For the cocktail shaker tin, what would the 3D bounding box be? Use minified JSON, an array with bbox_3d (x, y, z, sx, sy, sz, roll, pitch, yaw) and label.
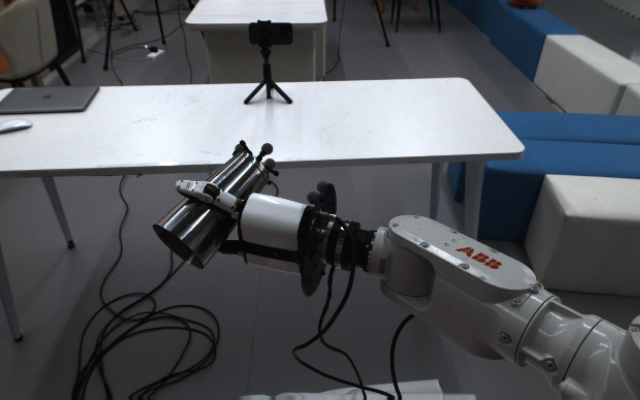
[{"bbox_3d":[-0.153,0.002,0.714,0.093,0.093,0.170,23,57,27],"label":"cocktail shaker tin"}]
